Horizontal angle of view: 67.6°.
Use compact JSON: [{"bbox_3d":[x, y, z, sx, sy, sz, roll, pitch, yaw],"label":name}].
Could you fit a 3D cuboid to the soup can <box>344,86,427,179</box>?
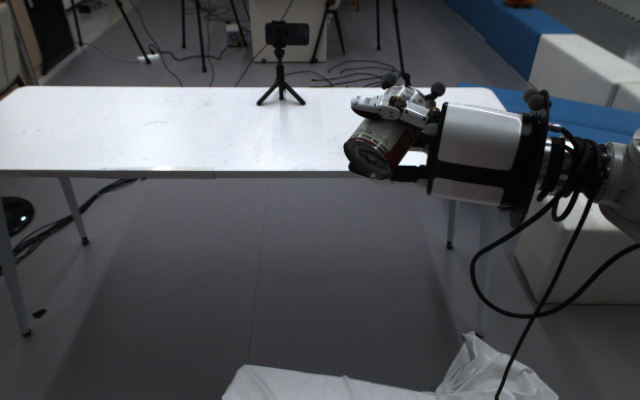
[{"bbox_3d":[0.084,-0.086,0.596,0.067,0.067,0.101,26,66,30],"label":"soup can"}]
